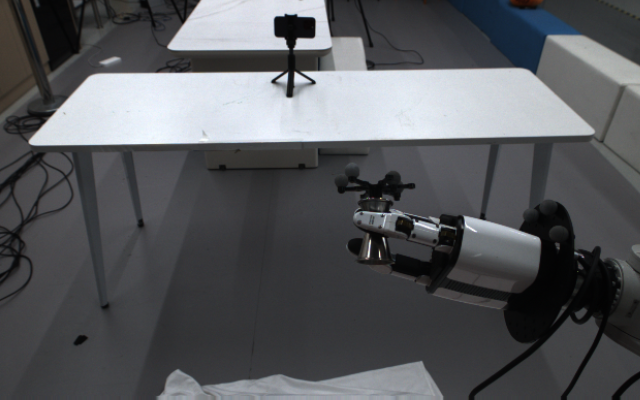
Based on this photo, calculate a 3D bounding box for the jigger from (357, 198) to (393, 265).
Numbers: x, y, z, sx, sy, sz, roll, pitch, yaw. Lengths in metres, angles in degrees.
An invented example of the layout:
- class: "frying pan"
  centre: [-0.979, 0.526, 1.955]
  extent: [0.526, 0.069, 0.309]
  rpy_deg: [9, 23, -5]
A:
- class: "jigger"
  centre: [0.061, 0.035, 0.537]
  extent: [0.043, 0.043, 0.071]
  rpy_deg: [3, 76, 1]
